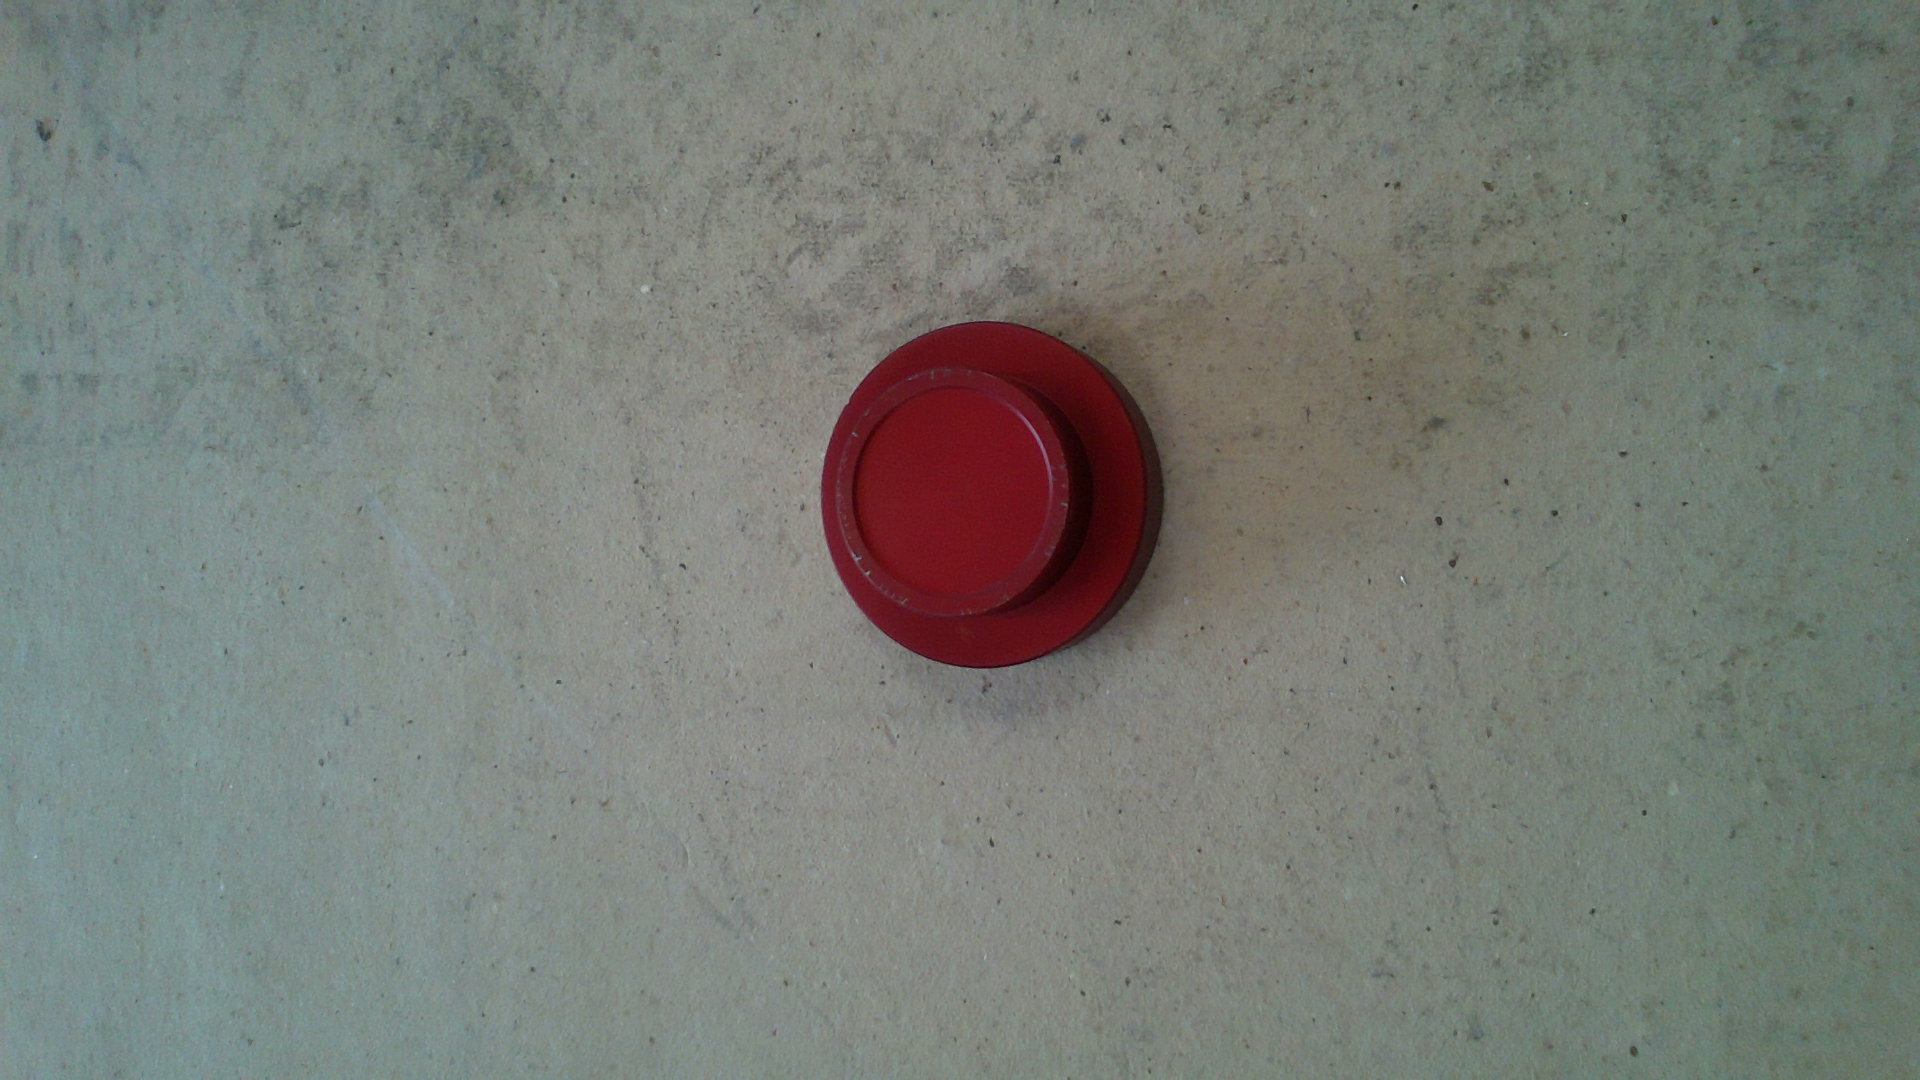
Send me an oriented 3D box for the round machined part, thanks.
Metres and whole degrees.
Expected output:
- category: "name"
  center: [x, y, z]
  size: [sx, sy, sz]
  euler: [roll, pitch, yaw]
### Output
- category: "round machined part"
  center: [0.005, -0.013, 0.386]
  size: [0.098, 0.042, 0.098]
  euler: [0, 90, 20]
